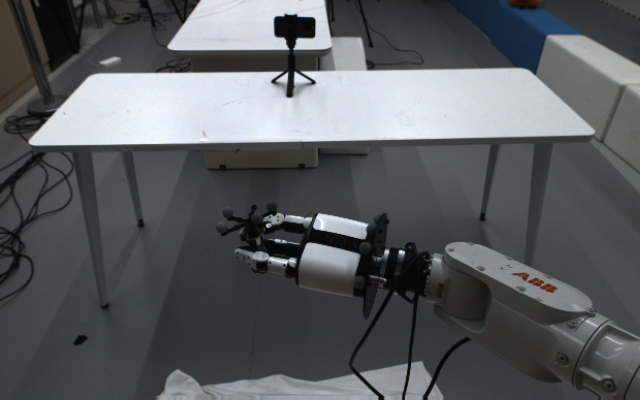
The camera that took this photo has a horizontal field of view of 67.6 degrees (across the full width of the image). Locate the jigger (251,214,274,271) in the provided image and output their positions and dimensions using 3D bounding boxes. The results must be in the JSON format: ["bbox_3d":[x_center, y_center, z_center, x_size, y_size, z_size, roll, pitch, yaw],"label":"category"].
[{"bbox_3d":[-0.096,0.075,0.754,0.043,0.071,0.043,-10,32,6],"label":"jigger"}]
